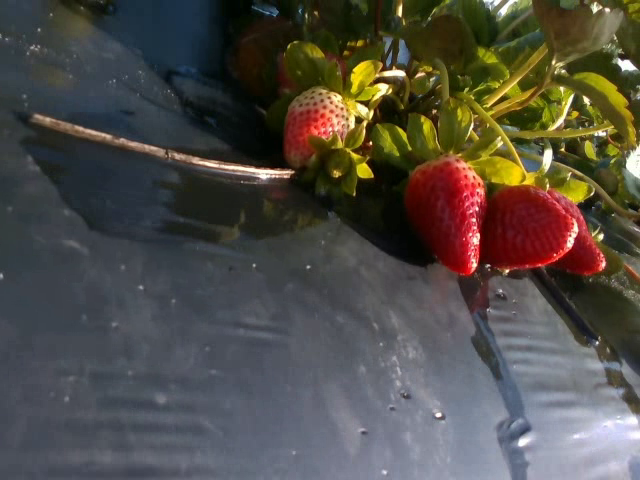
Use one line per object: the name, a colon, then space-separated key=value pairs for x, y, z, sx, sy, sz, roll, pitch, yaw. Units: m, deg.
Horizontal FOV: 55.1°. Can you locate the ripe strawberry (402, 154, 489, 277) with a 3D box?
ripe strawberry: x=0.045 y=-0.009 z=0.199 sx=0.031 sy=0.046 sz=0.023 roll=13 pitch=-34 yaw=-34

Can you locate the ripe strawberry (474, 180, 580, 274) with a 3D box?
ripe strawberry: x=0.072 y=-0.006 z=0.210 sx=0.030 sy=0.037 sz=0.039 roll=24 pitch=1 yaw=-29

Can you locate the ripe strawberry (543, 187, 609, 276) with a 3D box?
ripe strawberry: x=0.093 y=0.001 z=0.229 sx=0.035 sy=0.034 sz=0.041 roll=8 pitch=23 yaw=-35
